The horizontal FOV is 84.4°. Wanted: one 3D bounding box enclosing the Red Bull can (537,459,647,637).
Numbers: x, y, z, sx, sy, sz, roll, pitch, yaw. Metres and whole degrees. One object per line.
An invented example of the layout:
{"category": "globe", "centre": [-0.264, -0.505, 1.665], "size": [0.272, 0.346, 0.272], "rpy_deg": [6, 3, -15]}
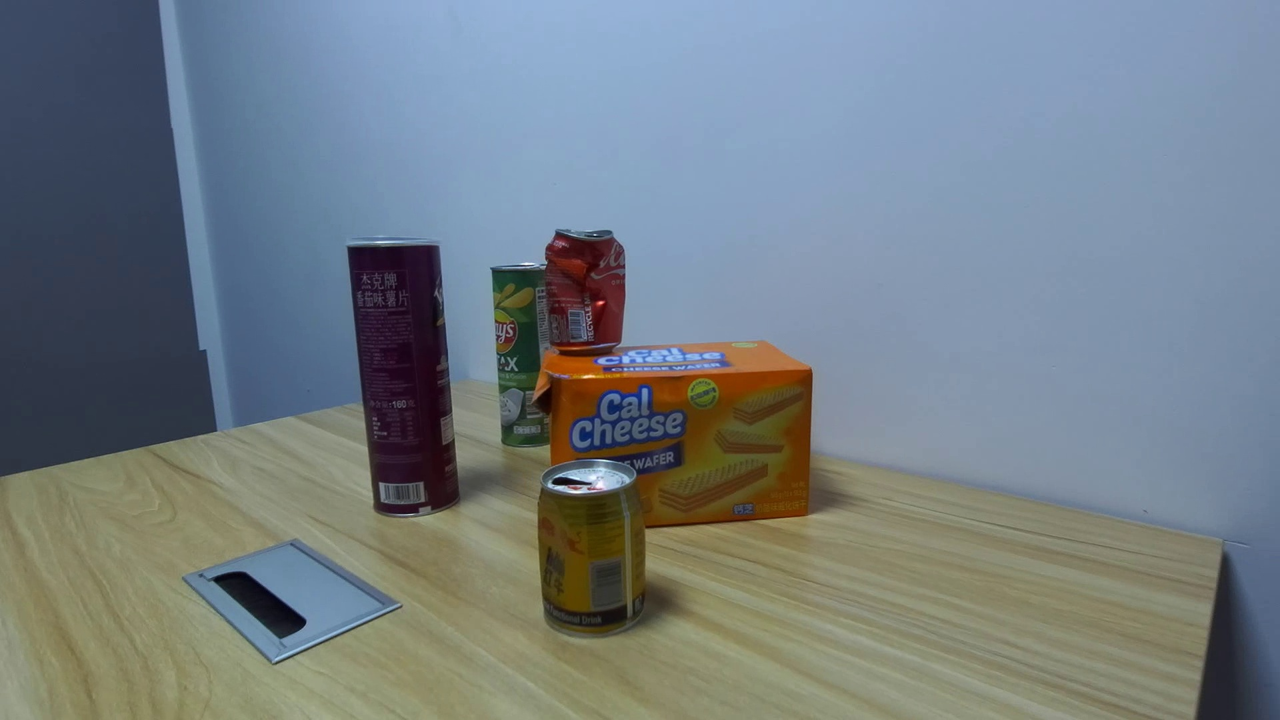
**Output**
{"category": "Red Bull can", "centre": [-0.031, 0.115, 0.445], "size": [0.069, 0.092, 0.069], "rpy_deg": [-1, 12, 1]}

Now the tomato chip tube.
{"category": "tomato chip tube", "centre": [-0.208, 0.016, 0.626], "size": [0.078, 0.233, 0.078], "rpy_deg": [-2, 10, 1]}

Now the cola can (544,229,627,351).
{"category": "cola can", "centre": [-0.052, -0.063, 0.645], "size": [0.069, 0.112, 0.066], "rpy_deg": [2, 13, 13]}

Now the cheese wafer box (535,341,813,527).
{"category": "cheese wafer box", "centre": [0.025, 0.058, 0.631], "size": [0.227, 0.137, 0.149], "rpy_deg": [-3, 11, -6]}
